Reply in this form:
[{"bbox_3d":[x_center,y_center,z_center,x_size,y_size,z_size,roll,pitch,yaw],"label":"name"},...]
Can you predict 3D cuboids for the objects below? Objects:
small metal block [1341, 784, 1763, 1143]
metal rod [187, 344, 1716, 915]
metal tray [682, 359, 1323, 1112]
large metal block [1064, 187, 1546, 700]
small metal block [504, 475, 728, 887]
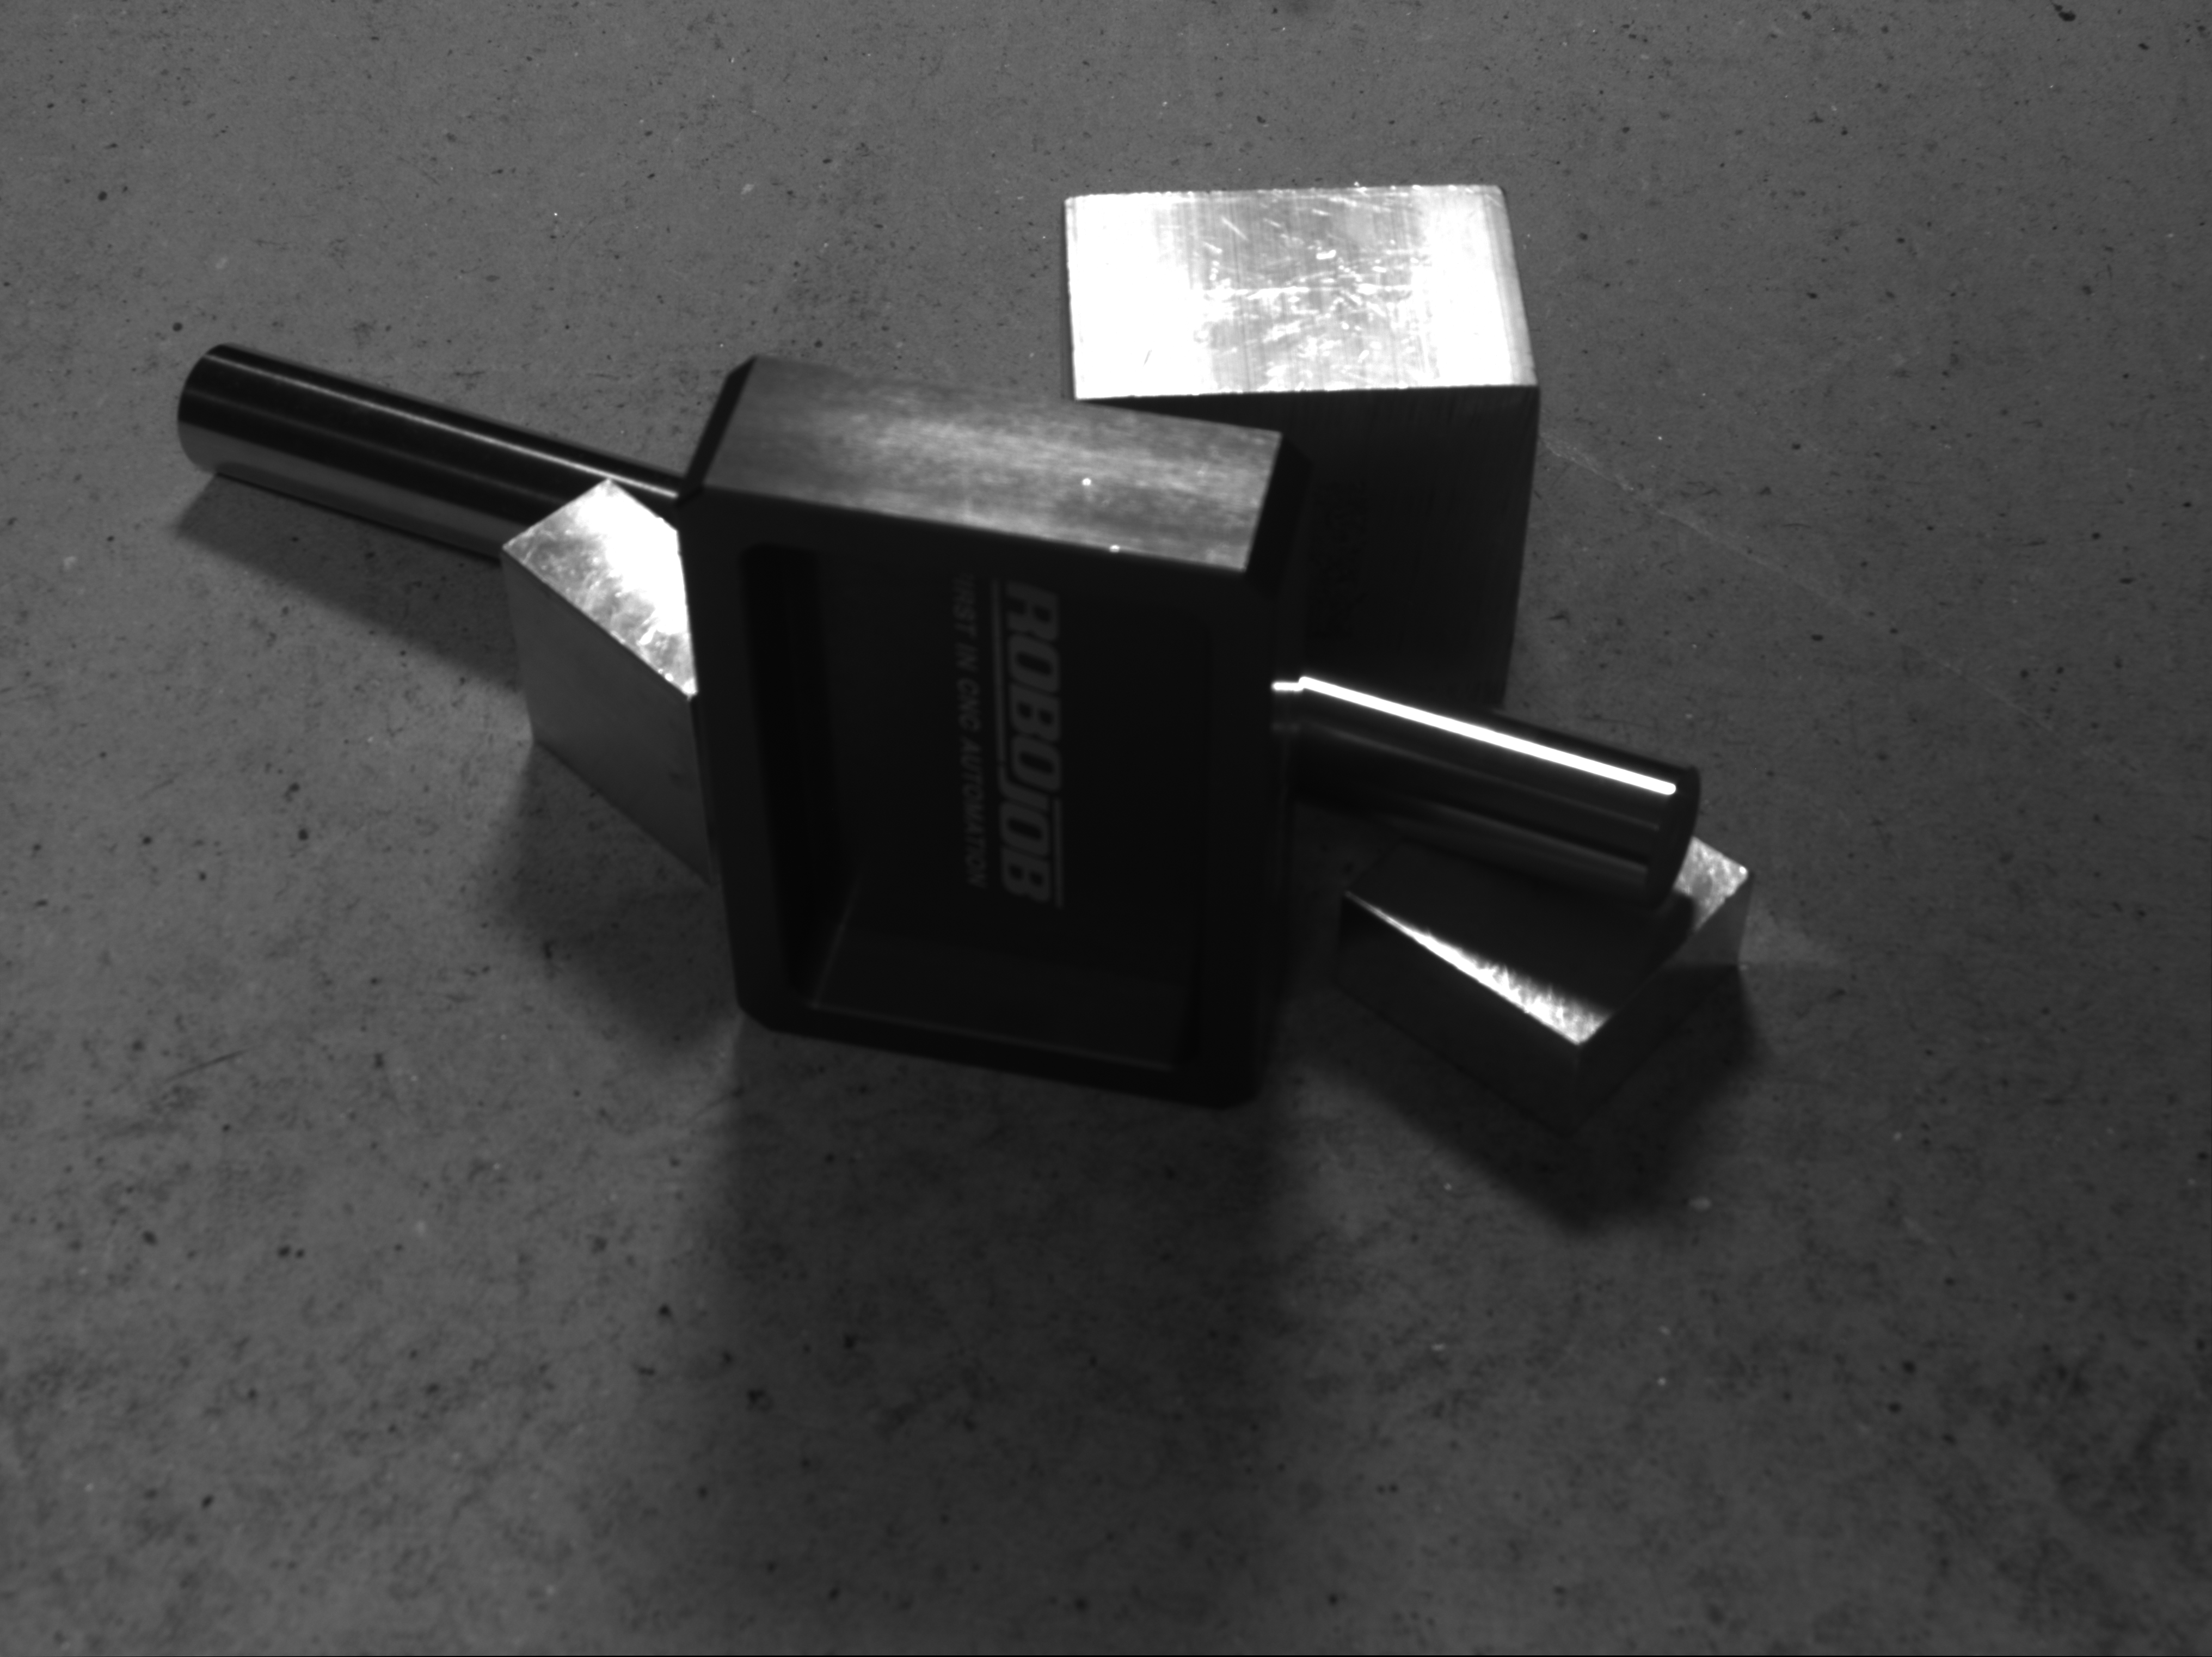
[{"bbox_3d":[0.076,0.018,0.628,0.050,0.025,0.050,34,58,25],"label":"small metal block"},{"bbox_3d":[-0.037,-0.040,0.658,0.299,0.025,0.025,18,52,21],"label":"metal rod"},{"bbox_3d":[-0.015,-0.011,0.583,0.090,0.130,0.030,9,50,8],"label":"metal tray"},{"bbox_3d":[0.033,-0.068,0.662,0.080,0.080,0.050,-2,50,-1],"label":"large metal block"},{"bbox_3d":[-0.078,-0.026,0.647,0.050,0.050,0.025,37,59,27],"label":"small metal block"}]
